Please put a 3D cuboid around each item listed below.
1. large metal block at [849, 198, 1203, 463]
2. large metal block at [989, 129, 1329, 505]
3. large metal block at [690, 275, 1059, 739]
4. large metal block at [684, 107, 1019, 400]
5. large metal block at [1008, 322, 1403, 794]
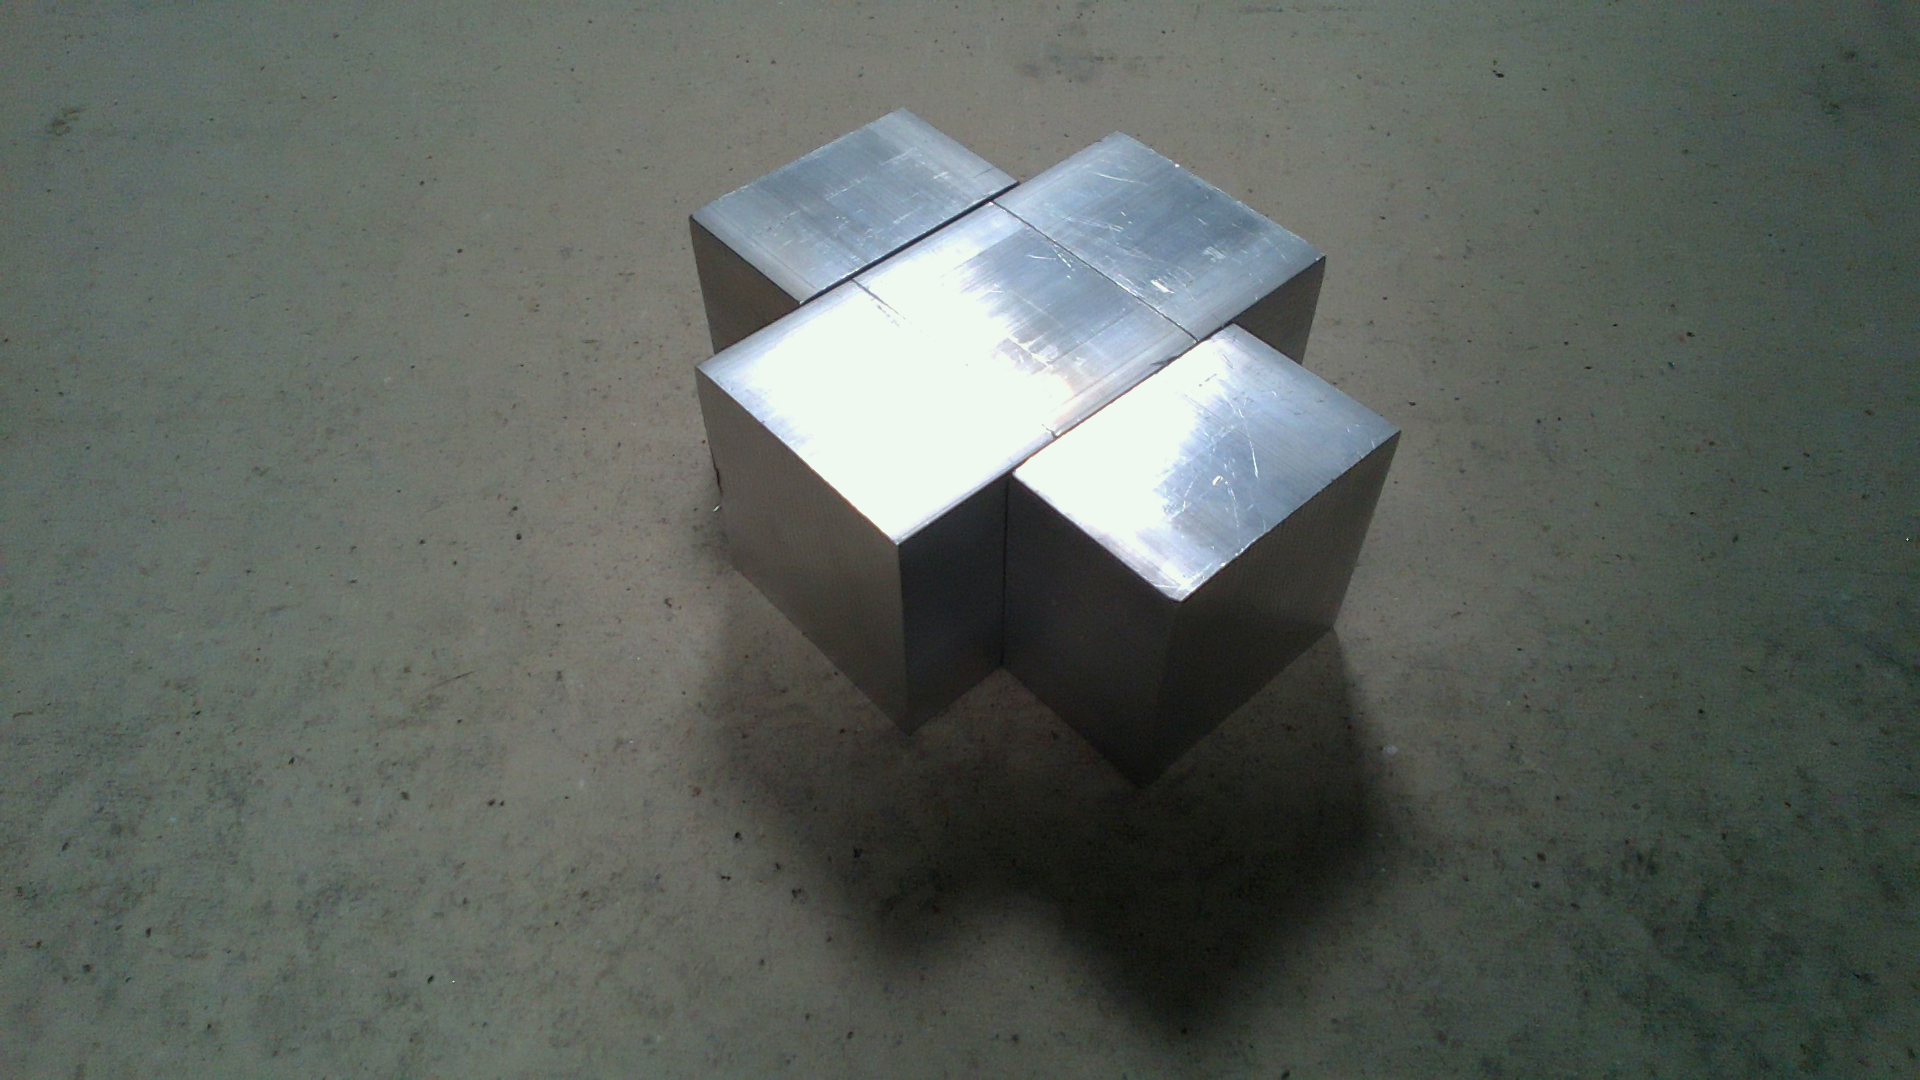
[{"bbox_3d":[0.016,-0.034,0.385,0.050,0.080,0.080,-35,58,-25],"label":"large metal block"},{"bbox_3d":[0.054,-0.060,0.407,0.050,0.080,0.080,-35,58,-25],"label":"large metal block"},{"bbox_3d":[-0.022,-0.009,0.364,0.050,0.080,0.080,-35,58,-25],"label":"large metal block"},{"bbox_3d":[-0.029,-0.070,0.416,0.080,0.080,0.050,-35,58,-26],"label":"large metal block"},{"bbox_3d":[0.059,0.005,0.352,0.080,0.080,0.050,-35,58,-26],"label":"large metal block"}]
